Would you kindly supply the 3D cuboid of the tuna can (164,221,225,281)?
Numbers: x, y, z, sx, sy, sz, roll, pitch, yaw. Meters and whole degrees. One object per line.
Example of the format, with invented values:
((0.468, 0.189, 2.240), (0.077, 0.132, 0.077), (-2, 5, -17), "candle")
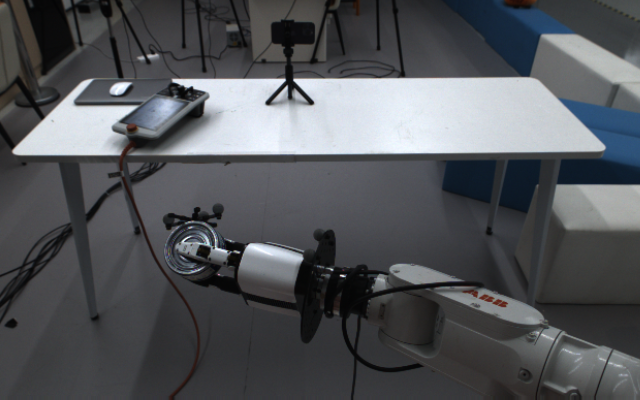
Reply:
((-0.183, 0.075, 0.714), (0.085, 0.034, 0.085), (-4, 68, 9), "tuna can")
